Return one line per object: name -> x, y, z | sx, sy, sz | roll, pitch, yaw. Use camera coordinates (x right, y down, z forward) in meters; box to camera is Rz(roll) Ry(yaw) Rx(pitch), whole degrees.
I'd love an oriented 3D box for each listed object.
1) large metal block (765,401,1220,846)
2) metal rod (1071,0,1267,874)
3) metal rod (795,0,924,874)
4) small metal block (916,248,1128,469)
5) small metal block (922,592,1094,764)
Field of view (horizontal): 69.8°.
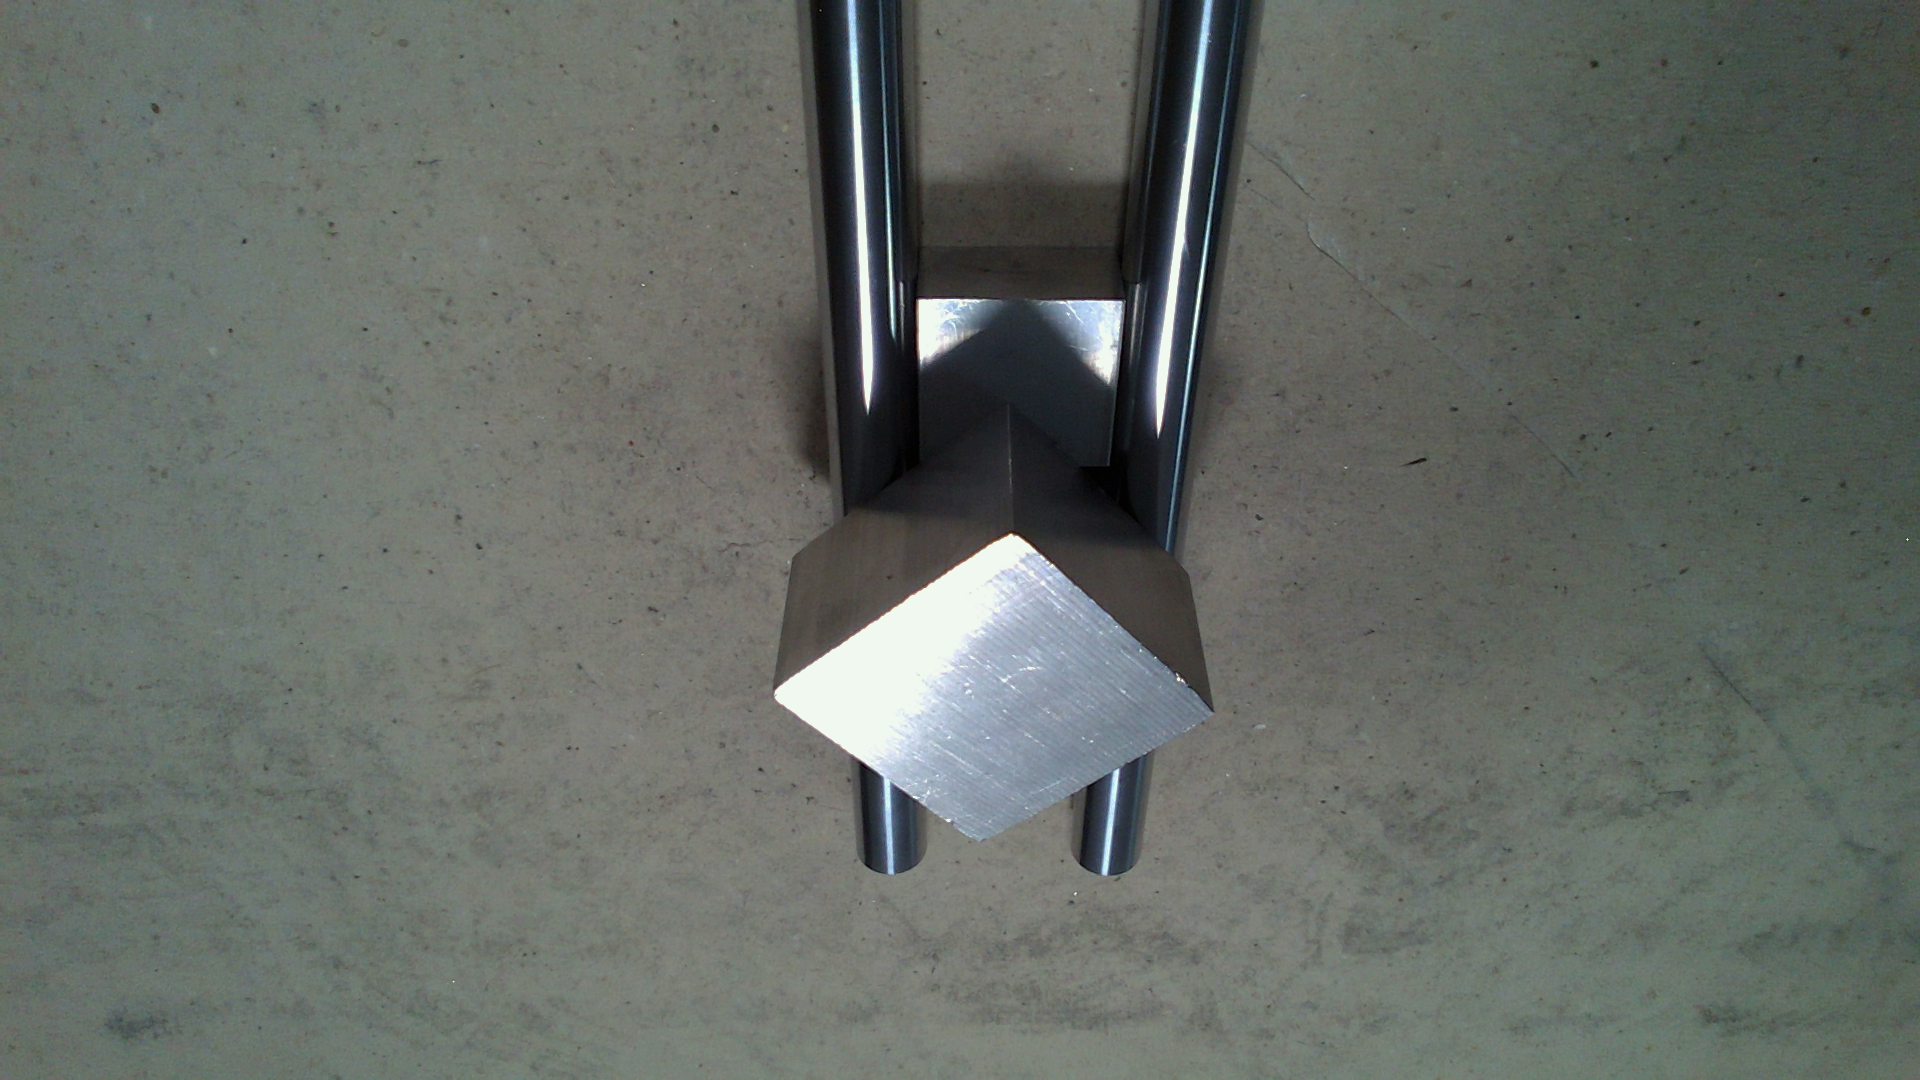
large metal block -> 0.009, 0.025, 0.360 | 0.080, 0.050, 0.080 | -34, 123, 25
metal rod -> 0.052, -0.008, 0.385 | 0.025, 0.025, 0.300 | 0, 130, 0
metal rod -> -0.024, -0.008, 0.384 | 0.025, 0.025, 0.300 | 0, 130, 0
small metal block -> 0.014, -0.046, 0.351 | 0.050, 0.025, 0.050 | 0, 130, -1
small metal block -> 0.014, 0.043, 0.426 | 0.050, 0.025, 0.050 | 0, 130, -1
